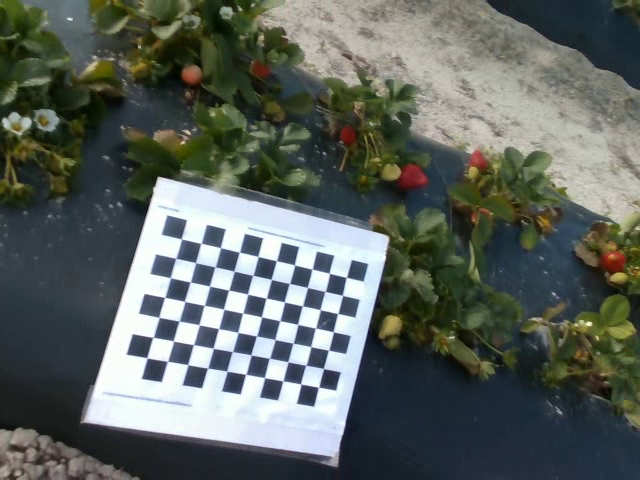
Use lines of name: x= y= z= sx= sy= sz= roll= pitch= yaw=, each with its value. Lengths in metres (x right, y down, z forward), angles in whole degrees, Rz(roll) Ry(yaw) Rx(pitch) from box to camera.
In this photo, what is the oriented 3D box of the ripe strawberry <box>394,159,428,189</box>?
ripe strawberry: x=0.170 y=-0.111 z=1.033 sx=0.055 sy=0.051 sz=0.048 roll=35 pitch=-16 yaw=45
